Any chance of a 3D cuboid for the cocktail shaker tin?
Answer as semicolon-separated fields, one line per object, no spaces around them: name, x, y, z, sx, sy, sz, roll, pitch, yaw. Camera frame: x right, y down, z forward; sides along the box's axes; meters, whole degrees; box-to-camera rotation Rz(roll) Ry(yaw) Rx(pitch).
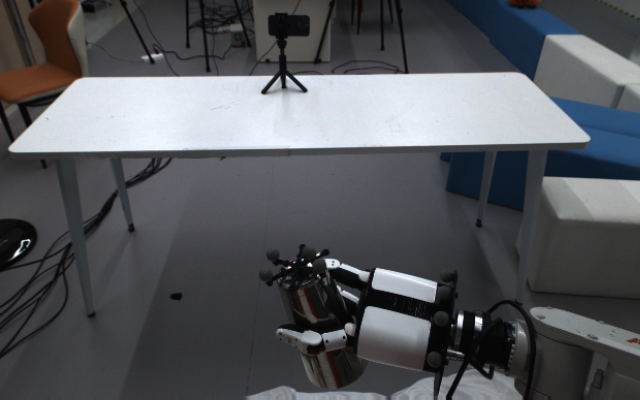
cocktail shaker tin;0.000;0.160;0.648;0.093;0.170;0.093;-15;28;8
